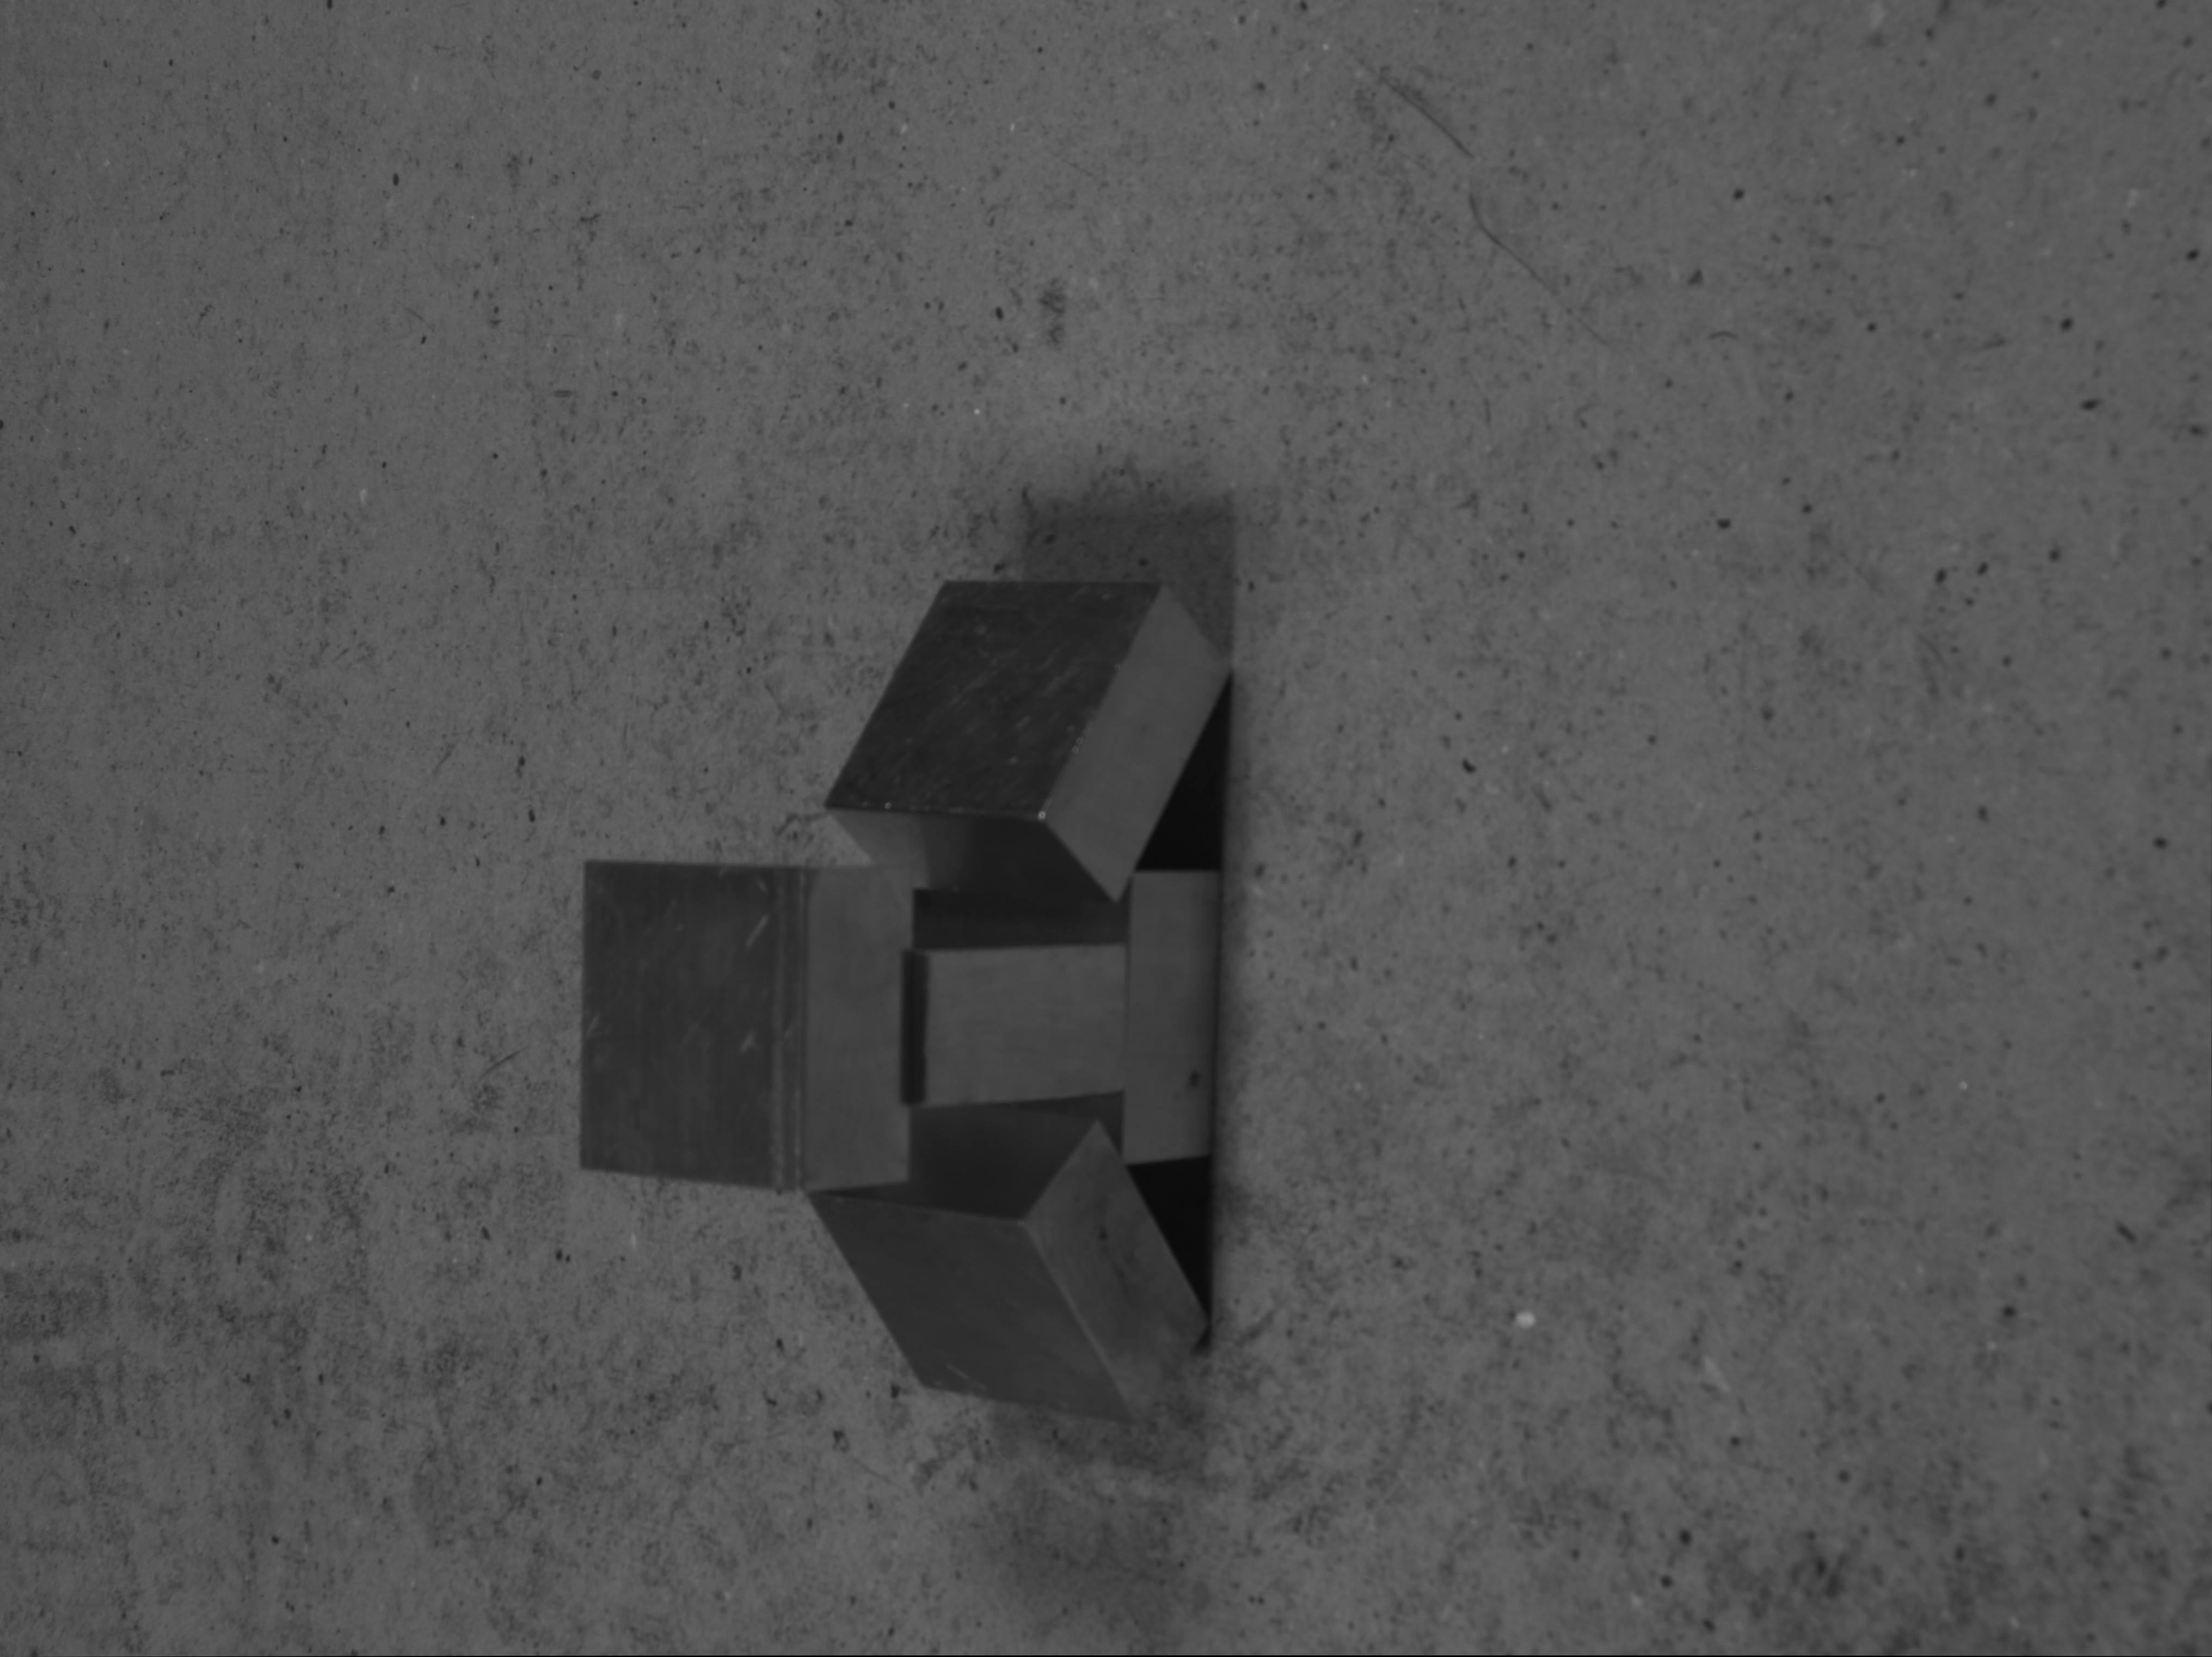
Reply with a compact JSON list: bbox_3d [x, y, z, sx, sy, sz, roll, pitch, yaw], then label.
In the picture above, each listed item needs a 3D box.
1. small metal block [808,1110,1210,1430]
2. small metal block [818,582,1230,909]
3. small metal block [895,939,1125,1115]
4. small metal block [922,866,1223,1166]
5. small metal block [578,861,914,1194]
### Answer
[{"bbox_3d":[-0.017,0.074,0.634,0.050,0.025,0.050,3,132,39],"label":"small metal block"},{"bbox_3d":[-0.014,-0.015,0.633,0.050,0.025,0.050,3,56,40],"label":"small metal block"},{"bbox_3d":[-0.032,0.032,0.614,0.050,0.050,0.025,3,92,39],"label":"small metal block"},{"bbox_3d":[-0.008,0.031,0.644,0.050,0.025,0.050,3,92,39],"label":"small metal block"},{"bbox_3d":[-0.058,0.031,0.587,0.050,0.025,0.050,1,91,39],"label":"small metal block"}]
